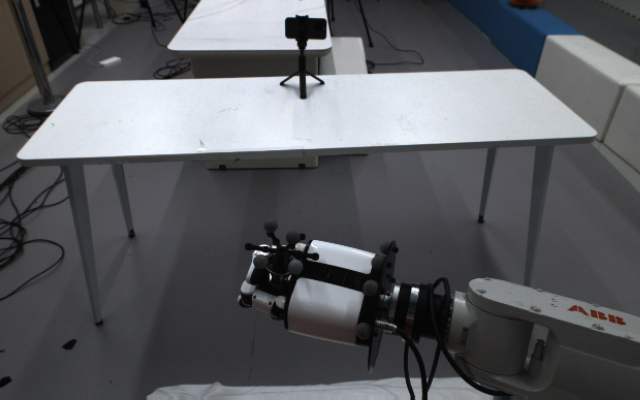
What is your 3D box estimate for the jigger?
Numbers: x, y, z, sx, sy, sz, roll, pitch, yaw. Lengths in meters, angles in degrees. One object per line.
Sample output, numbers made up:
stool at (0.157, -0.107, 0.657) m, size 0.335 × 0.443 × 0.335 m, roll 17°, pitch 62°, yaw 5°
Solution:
jigger at (-0.049, 0.105, 0.608) m, size 0.043 × 0.071 × 0.043 m, roll 7°, pitch 32°, yaw -4°
